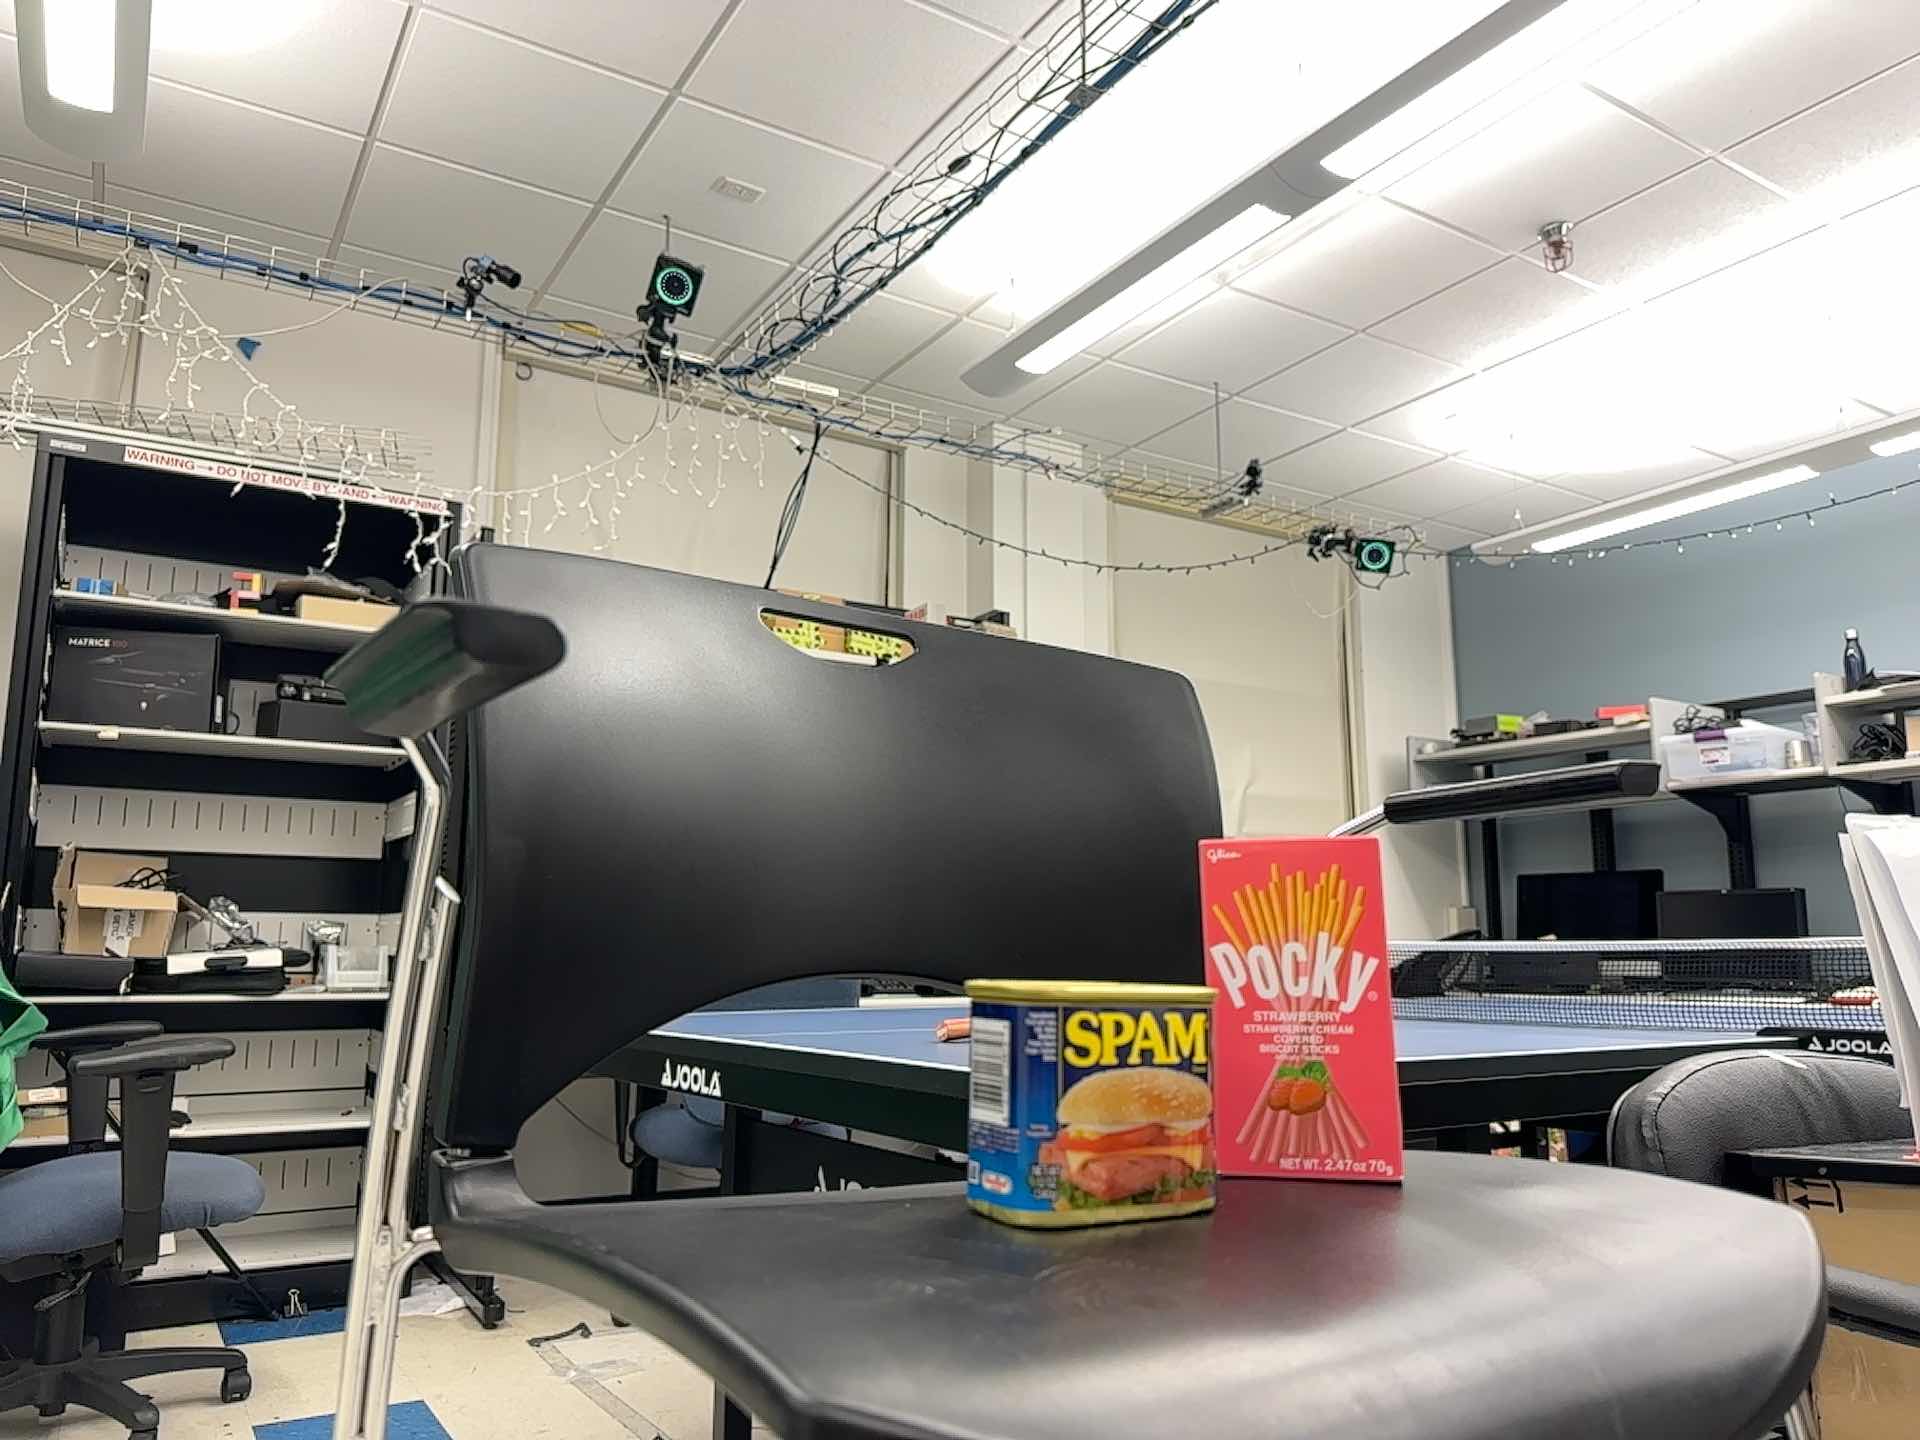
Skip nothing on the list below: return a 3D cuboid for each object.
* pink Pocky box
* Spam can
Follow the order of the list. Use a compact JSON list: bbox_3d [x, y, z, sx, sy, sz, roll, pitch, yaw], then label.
[{"bbox_3d":[0.156,0.131,0.620,0.084,0.155,0.029,-5,-8,16],"label":"pink Pocky box"},{"bbox_3d":[0.051,0.148,0.527,0.100,0.083,0.056,6,-10,-27],"label":"Spam can"}]
